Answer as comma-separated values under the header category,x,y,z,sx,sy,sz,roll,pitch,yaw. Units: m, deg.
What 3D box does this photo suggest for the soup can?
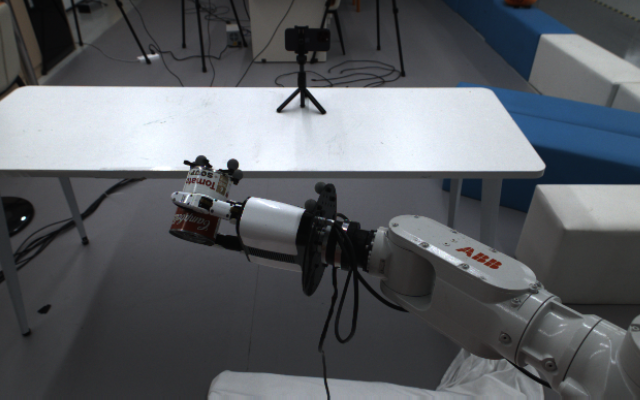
category,x,y,z,sx,sy,sz,roll,pitch,yaw
soup can,-0.176,0.011,0.720,0.067,0.067,0.101,9,71,10
